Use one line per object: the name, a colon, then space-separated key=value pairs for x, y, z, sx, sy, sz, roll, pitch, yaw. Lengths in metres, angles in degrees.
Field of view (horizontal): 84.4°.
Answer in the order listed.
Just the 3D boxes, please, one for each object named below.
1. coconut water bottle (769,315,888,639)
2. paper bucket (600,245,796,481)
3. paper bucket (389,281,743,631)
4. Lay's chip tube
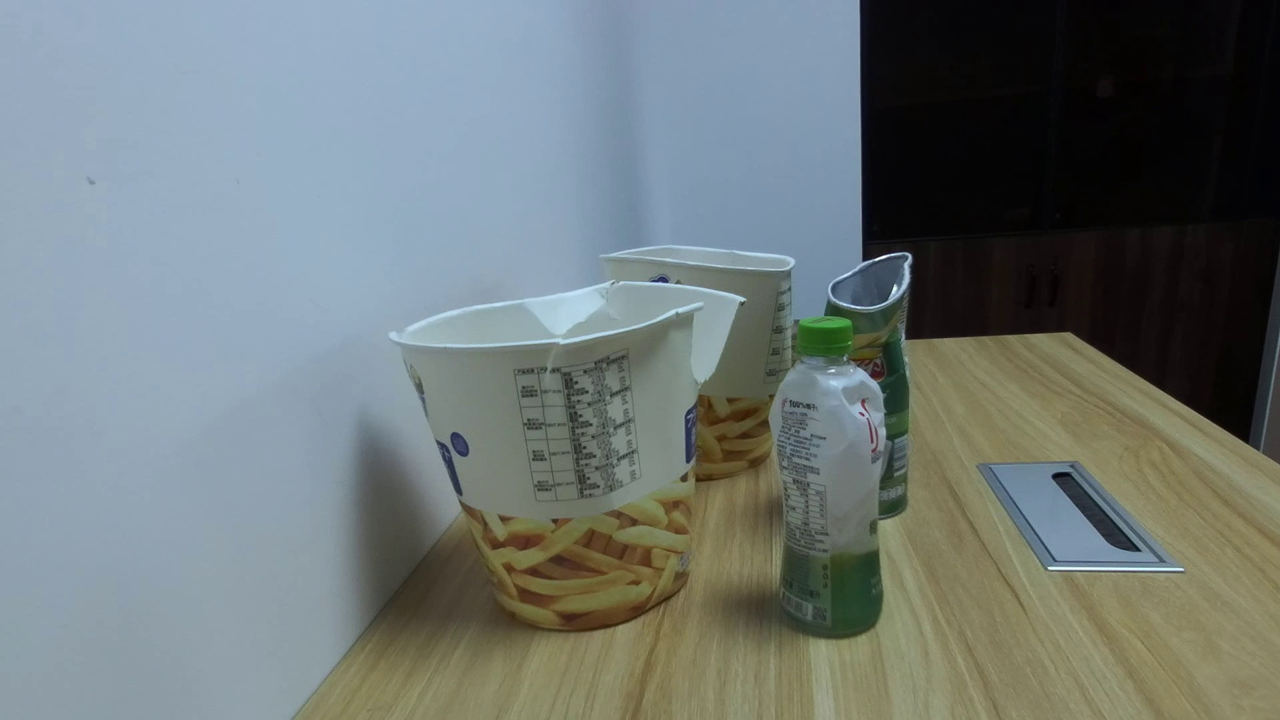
coconut water bottle: x=0.113 y=0.067 z=0.421 sx=0.067 sy=0.187 sz=0.067 roll=-5 pitch=16 yaw=2
paper bucket: x=0.046 y=-0.011 z=0.676 sx=0.217 sy=0.199 sz=0.148 roll=3 pitch=20 yaw=21
paper bucket: x=-0.039 y=0.058 z=0.489 sx=0.203 sy=0.197 sz=0.145 roll=-17 pitch=22 yaw=-32
Lay's chip tube: x=0.173 y=0.025 z=0.537 sx=0.079 sy=0.199 sz=0.071 roll=-7 pitch=24 yaw=0
